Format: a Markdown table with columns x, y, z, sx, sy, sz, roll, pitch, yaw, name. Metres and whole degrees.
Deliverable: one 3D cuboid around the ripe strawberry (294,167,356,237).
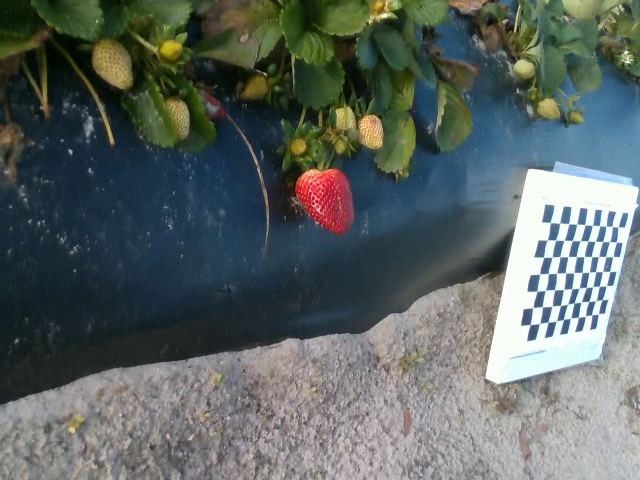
| x | y | z | sx | sy | sz | roll | pitch | yaw | name |
| --- | --- | --- | --- | --- | --- | --- | --- | --- | --- |
| 0.009 | -0.035 | 0.535 | 0.052 | 0.068 | 0.044 | -4 | -28 | -40 | ripe strawberry |
